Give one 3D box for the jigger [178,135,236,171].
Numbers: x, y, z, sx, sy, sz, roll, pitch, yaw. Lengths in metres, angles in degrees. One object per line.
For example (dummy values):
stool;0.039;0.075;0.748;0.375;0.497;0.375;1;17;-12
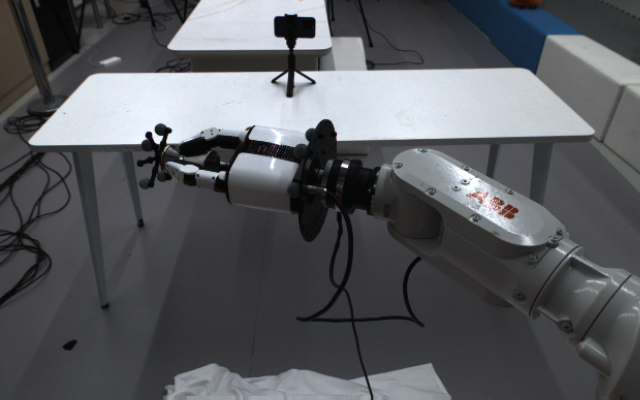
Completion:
jigger;-0.173;-0.053;0.667;0.071;0.043;0.043;10;35;16
